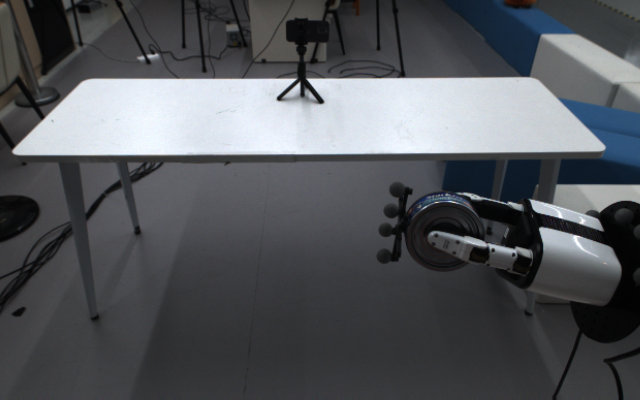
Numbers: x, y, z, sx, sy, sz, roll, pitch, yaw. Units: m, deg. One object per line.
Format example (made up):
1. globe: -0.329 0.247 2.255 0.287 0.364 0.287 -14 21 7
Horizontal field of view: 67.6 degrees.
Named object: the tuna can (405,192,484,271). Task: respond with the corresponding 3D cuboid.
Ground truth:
1. tuna can: 0.139 0.033 0.537 0.085 0.085 0.034 5 17 4
